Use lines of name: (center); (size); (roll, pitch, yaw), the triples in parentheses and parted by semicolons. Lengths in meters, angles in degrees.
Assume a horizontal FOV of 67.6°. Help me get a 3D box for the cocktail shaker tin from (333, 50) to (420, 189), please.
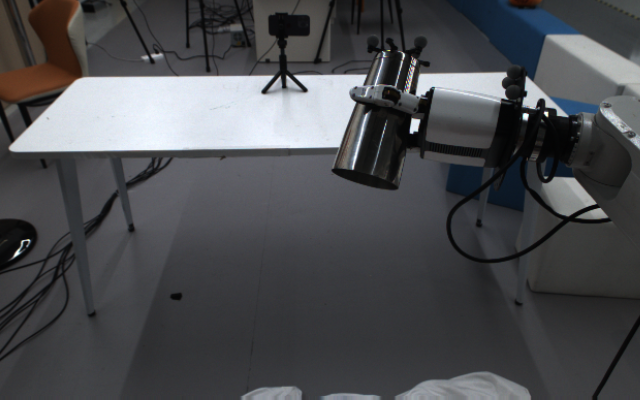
cocktail shaker tin: (0.081, -0.109, 0.652); (0.093, 0.170, 0.093); (16, -7, 2)
